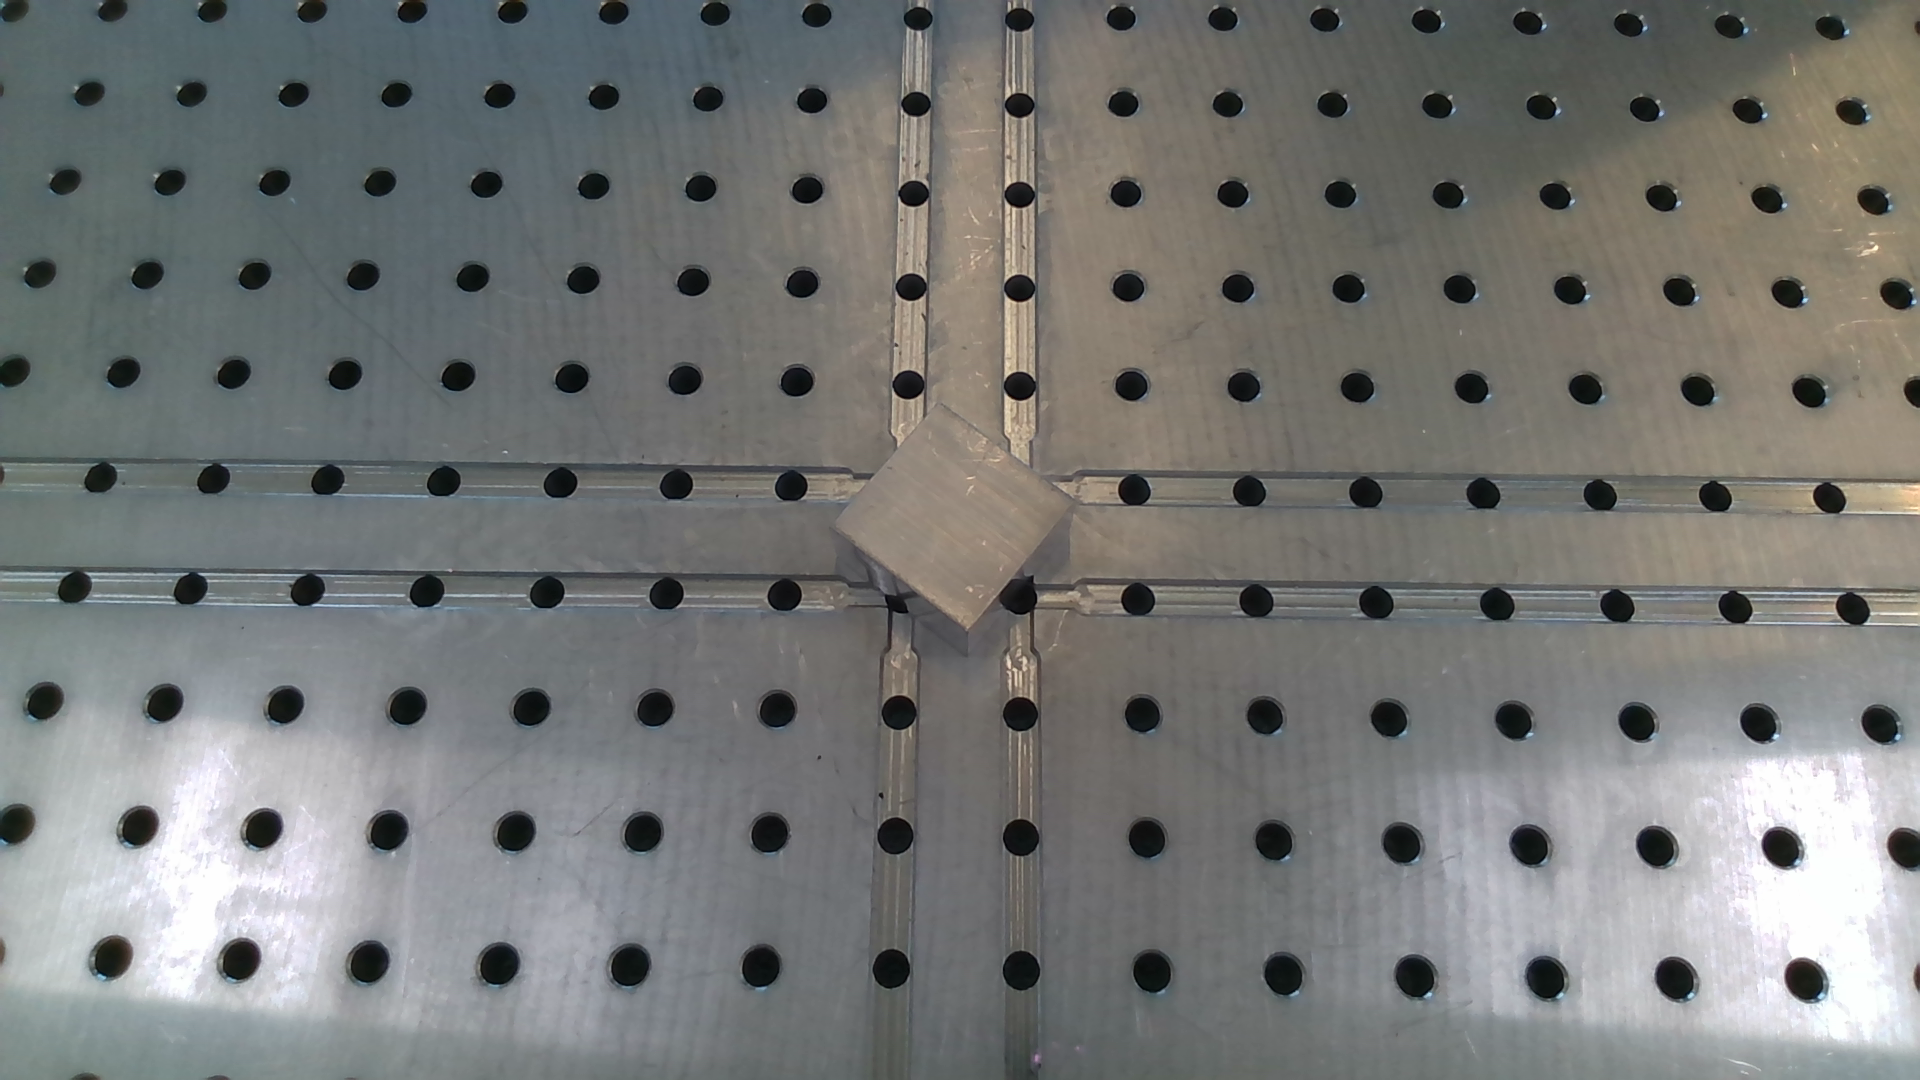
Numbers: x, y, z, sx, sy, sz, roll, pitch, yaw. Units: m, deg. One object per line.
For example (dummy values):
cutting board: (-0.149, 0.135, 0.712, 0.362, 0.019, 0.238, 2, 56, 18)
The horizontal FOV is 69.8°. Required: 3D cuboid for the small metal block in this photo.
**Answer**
small metal block: (-0.002, -0.004, 0.399, 0.050, 0.025, 0.050, 37, 75, 12)
